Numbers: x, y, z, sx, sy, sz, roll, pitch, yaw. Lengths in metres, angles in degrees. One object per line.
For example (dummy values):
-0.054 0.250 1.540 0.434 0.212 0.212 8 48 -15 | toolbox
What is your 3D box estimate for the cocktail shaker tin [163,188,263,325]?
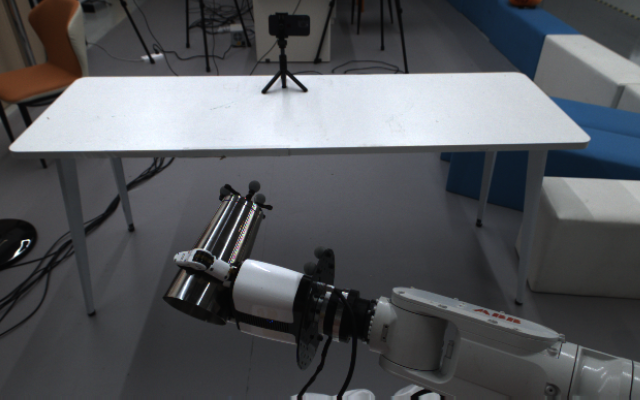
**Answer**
-0.145 0.080 0.689 0.093 0.093 0.170 13 61 16 | cocktail shaker tin
